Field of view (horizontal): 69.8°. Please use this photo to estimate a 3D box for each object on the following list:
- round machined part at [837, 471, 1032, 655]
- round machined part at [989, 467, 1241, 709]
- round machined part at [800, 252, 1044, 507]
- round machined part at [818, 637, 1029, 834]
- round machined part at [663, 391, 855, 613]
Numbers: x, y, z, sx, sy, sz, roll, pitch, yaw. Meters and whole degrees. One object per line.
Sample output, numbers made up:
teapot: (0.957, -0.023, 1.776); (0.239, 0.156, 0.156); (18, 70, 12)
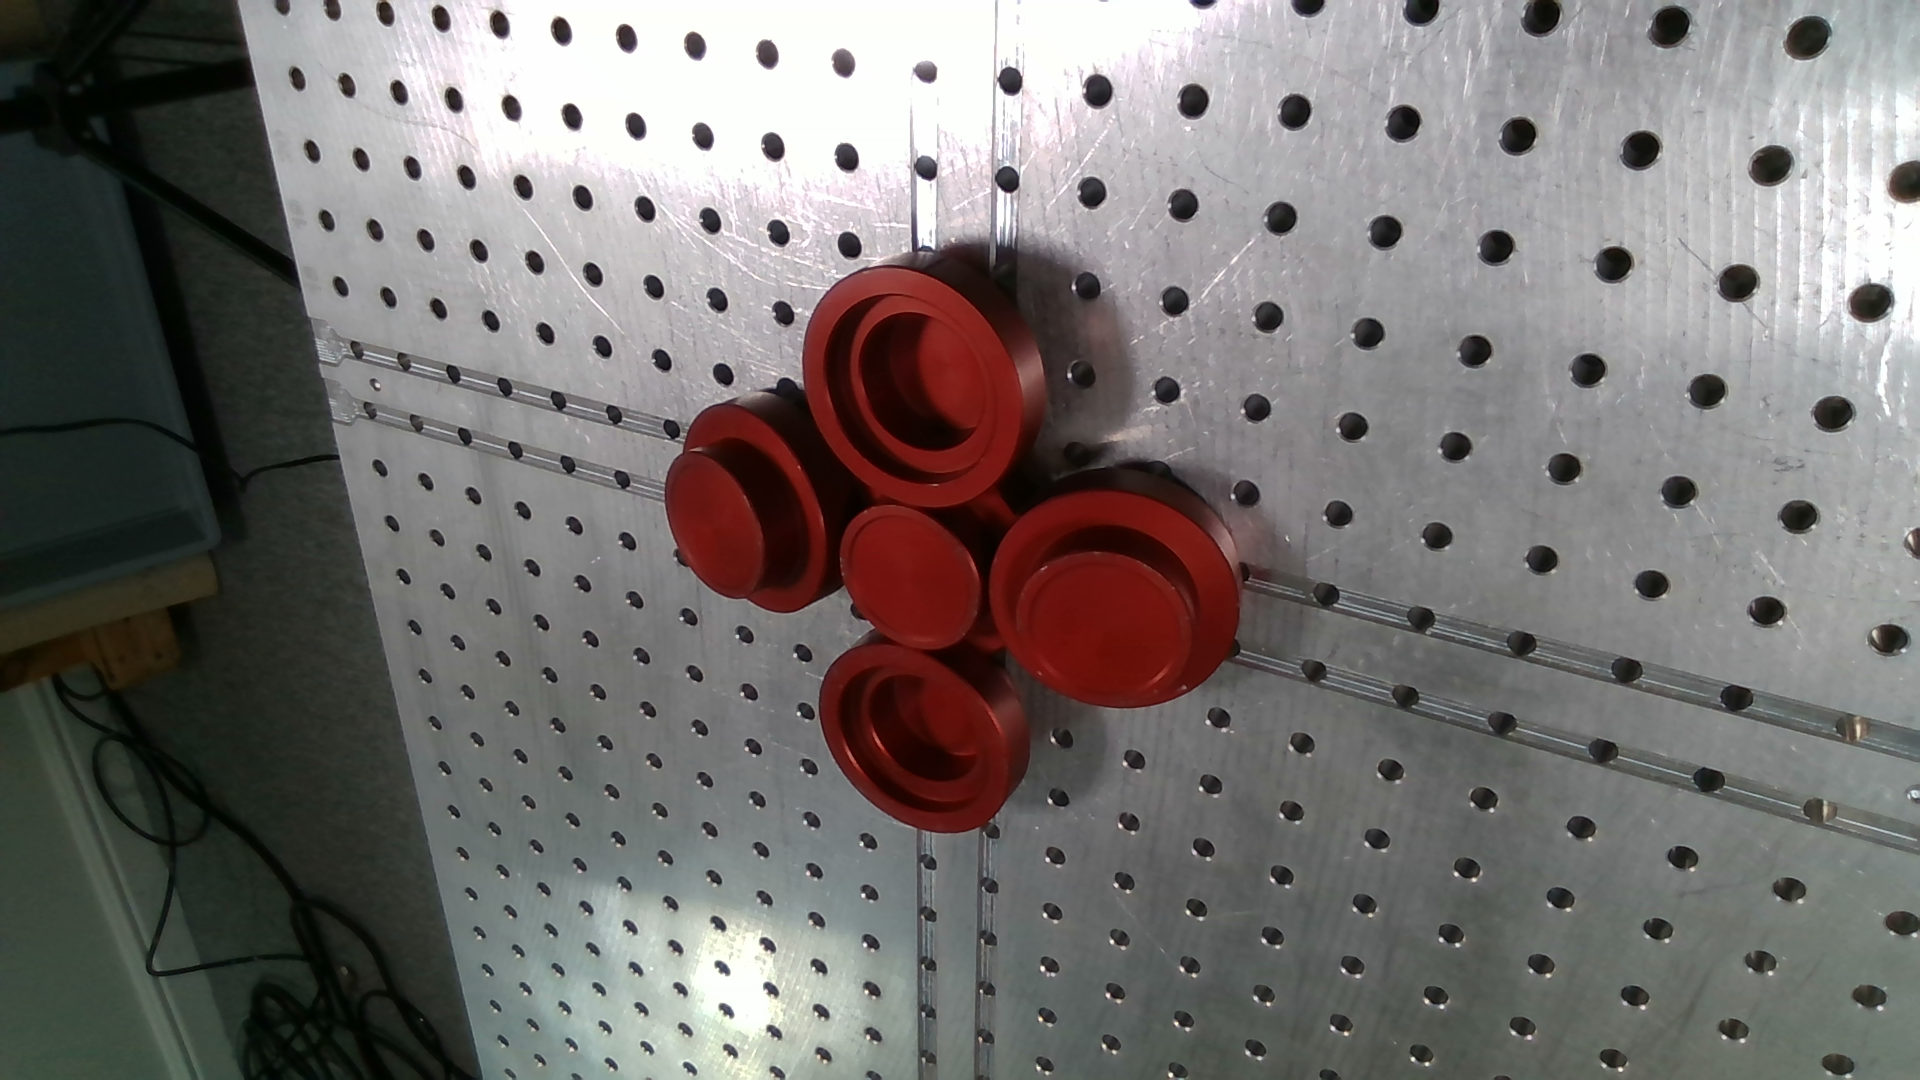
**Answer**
round machined part: (-0.012, 0.007, 0.582); (0.098, 0.042, 0.098); (14, 122, 25)
round machined part: (0.059, 0.025, 0.535); (0.098, 0.042, 0.098); (6, 118, 12)
round machined part: (-0.011, -0.066, 0.542); (0.098, 0.042, 0.098); (14, 122, 25)
round machined part: (-0.012, 0.080, 0.623); (0.098, 0.042, 0.098); (14, 122, 25)
round machined part: (-0.094, -0.013, 0.607); (0.098, 0.042, 0.098); (24, 127, 37)
